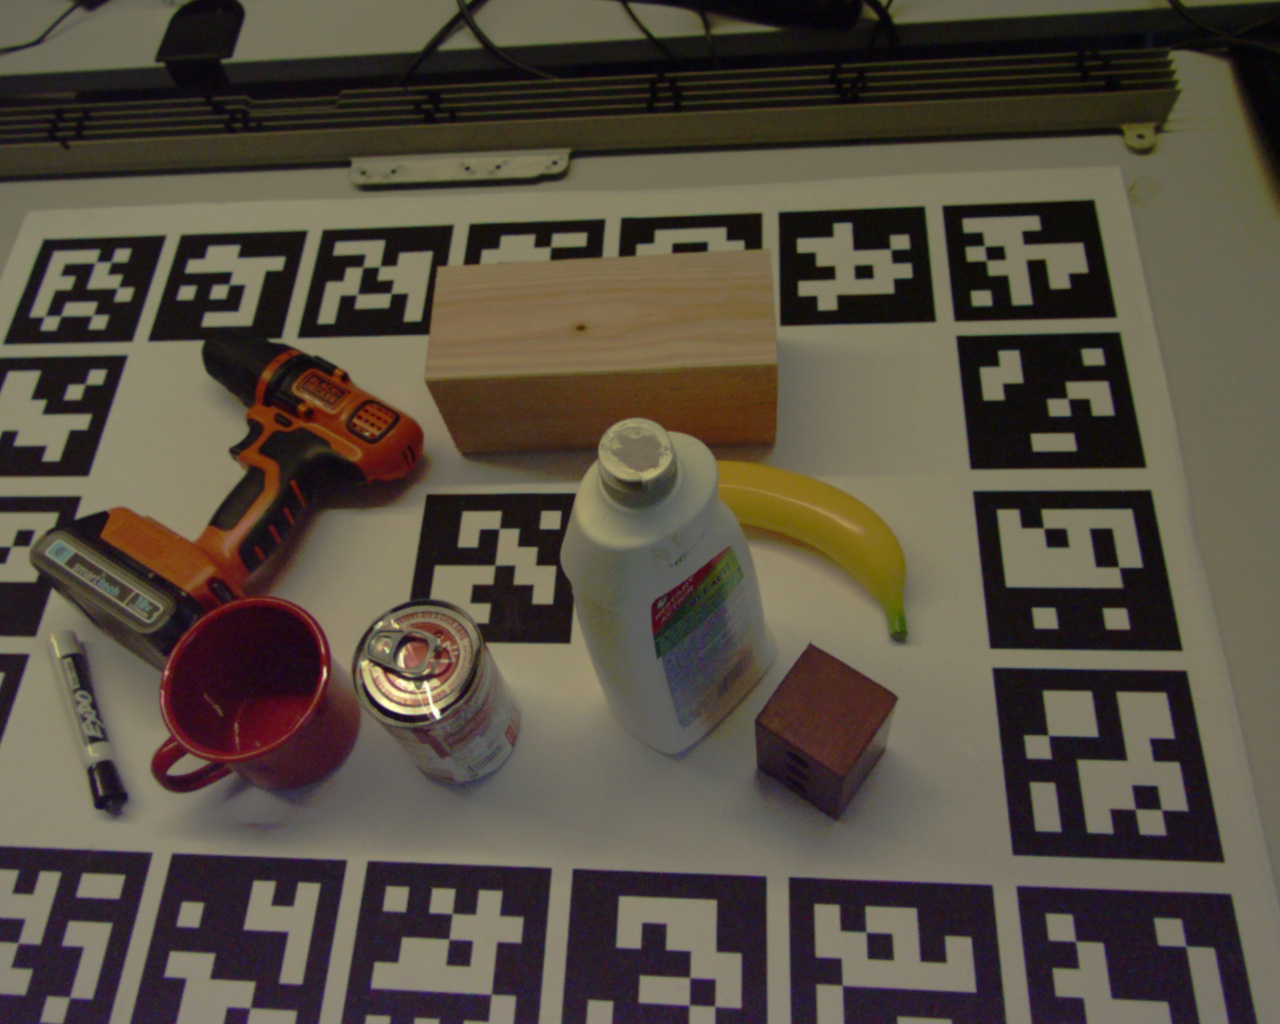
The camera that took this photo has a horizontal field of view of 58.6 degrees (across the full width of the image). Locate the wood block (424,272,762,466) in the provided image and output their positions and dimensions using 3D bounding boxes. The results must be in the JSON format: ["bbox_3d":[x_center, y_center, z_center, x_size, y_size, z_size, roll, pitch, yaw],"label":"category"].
[{"bbox_3d":[-0.025,-0.092,0.744,0.207,0.090,0.090,-1,62,7],"label":"wood block"}]

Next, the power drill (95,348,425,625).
[{"bbox_3d":[-0.261,-0.012,0.752,0.186,0.057,0.186,28,66,17],"label":"power drill"}]

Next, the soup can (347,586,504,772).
[{"bbox_3d":[-0.116,0.096,0.634,0.068,0.101,0.068,-2,56,3],"label":"soup can"}]

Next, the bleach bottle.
[{"bbox_3d":[0.004,0.035,0.574,0.068,0.249,0.102,27,66,20],"label":"bleach bottle"}]

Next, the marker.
[{"bbox_3d":[-0.335,0.126,0.701,0.019,0.019,0.122,-27,62,-6],"label":"marker"}]

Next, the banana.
[{"bbox_3d":[0.053,-0.004,0.709,0.198,0.038,0.074,15,77,13],"label":"banana"}]

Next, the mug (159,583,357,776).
[{"bbox_3d":[-0.223,0.107,0.658,0.117,0.081,0.094,-43,66,-13],"label":"mug"}]

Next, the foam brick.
[{"bbox_3d":[0.088,0.119,0.617,0.053,0.077,0.051,31,66,24],"label":"foam brick"}]
